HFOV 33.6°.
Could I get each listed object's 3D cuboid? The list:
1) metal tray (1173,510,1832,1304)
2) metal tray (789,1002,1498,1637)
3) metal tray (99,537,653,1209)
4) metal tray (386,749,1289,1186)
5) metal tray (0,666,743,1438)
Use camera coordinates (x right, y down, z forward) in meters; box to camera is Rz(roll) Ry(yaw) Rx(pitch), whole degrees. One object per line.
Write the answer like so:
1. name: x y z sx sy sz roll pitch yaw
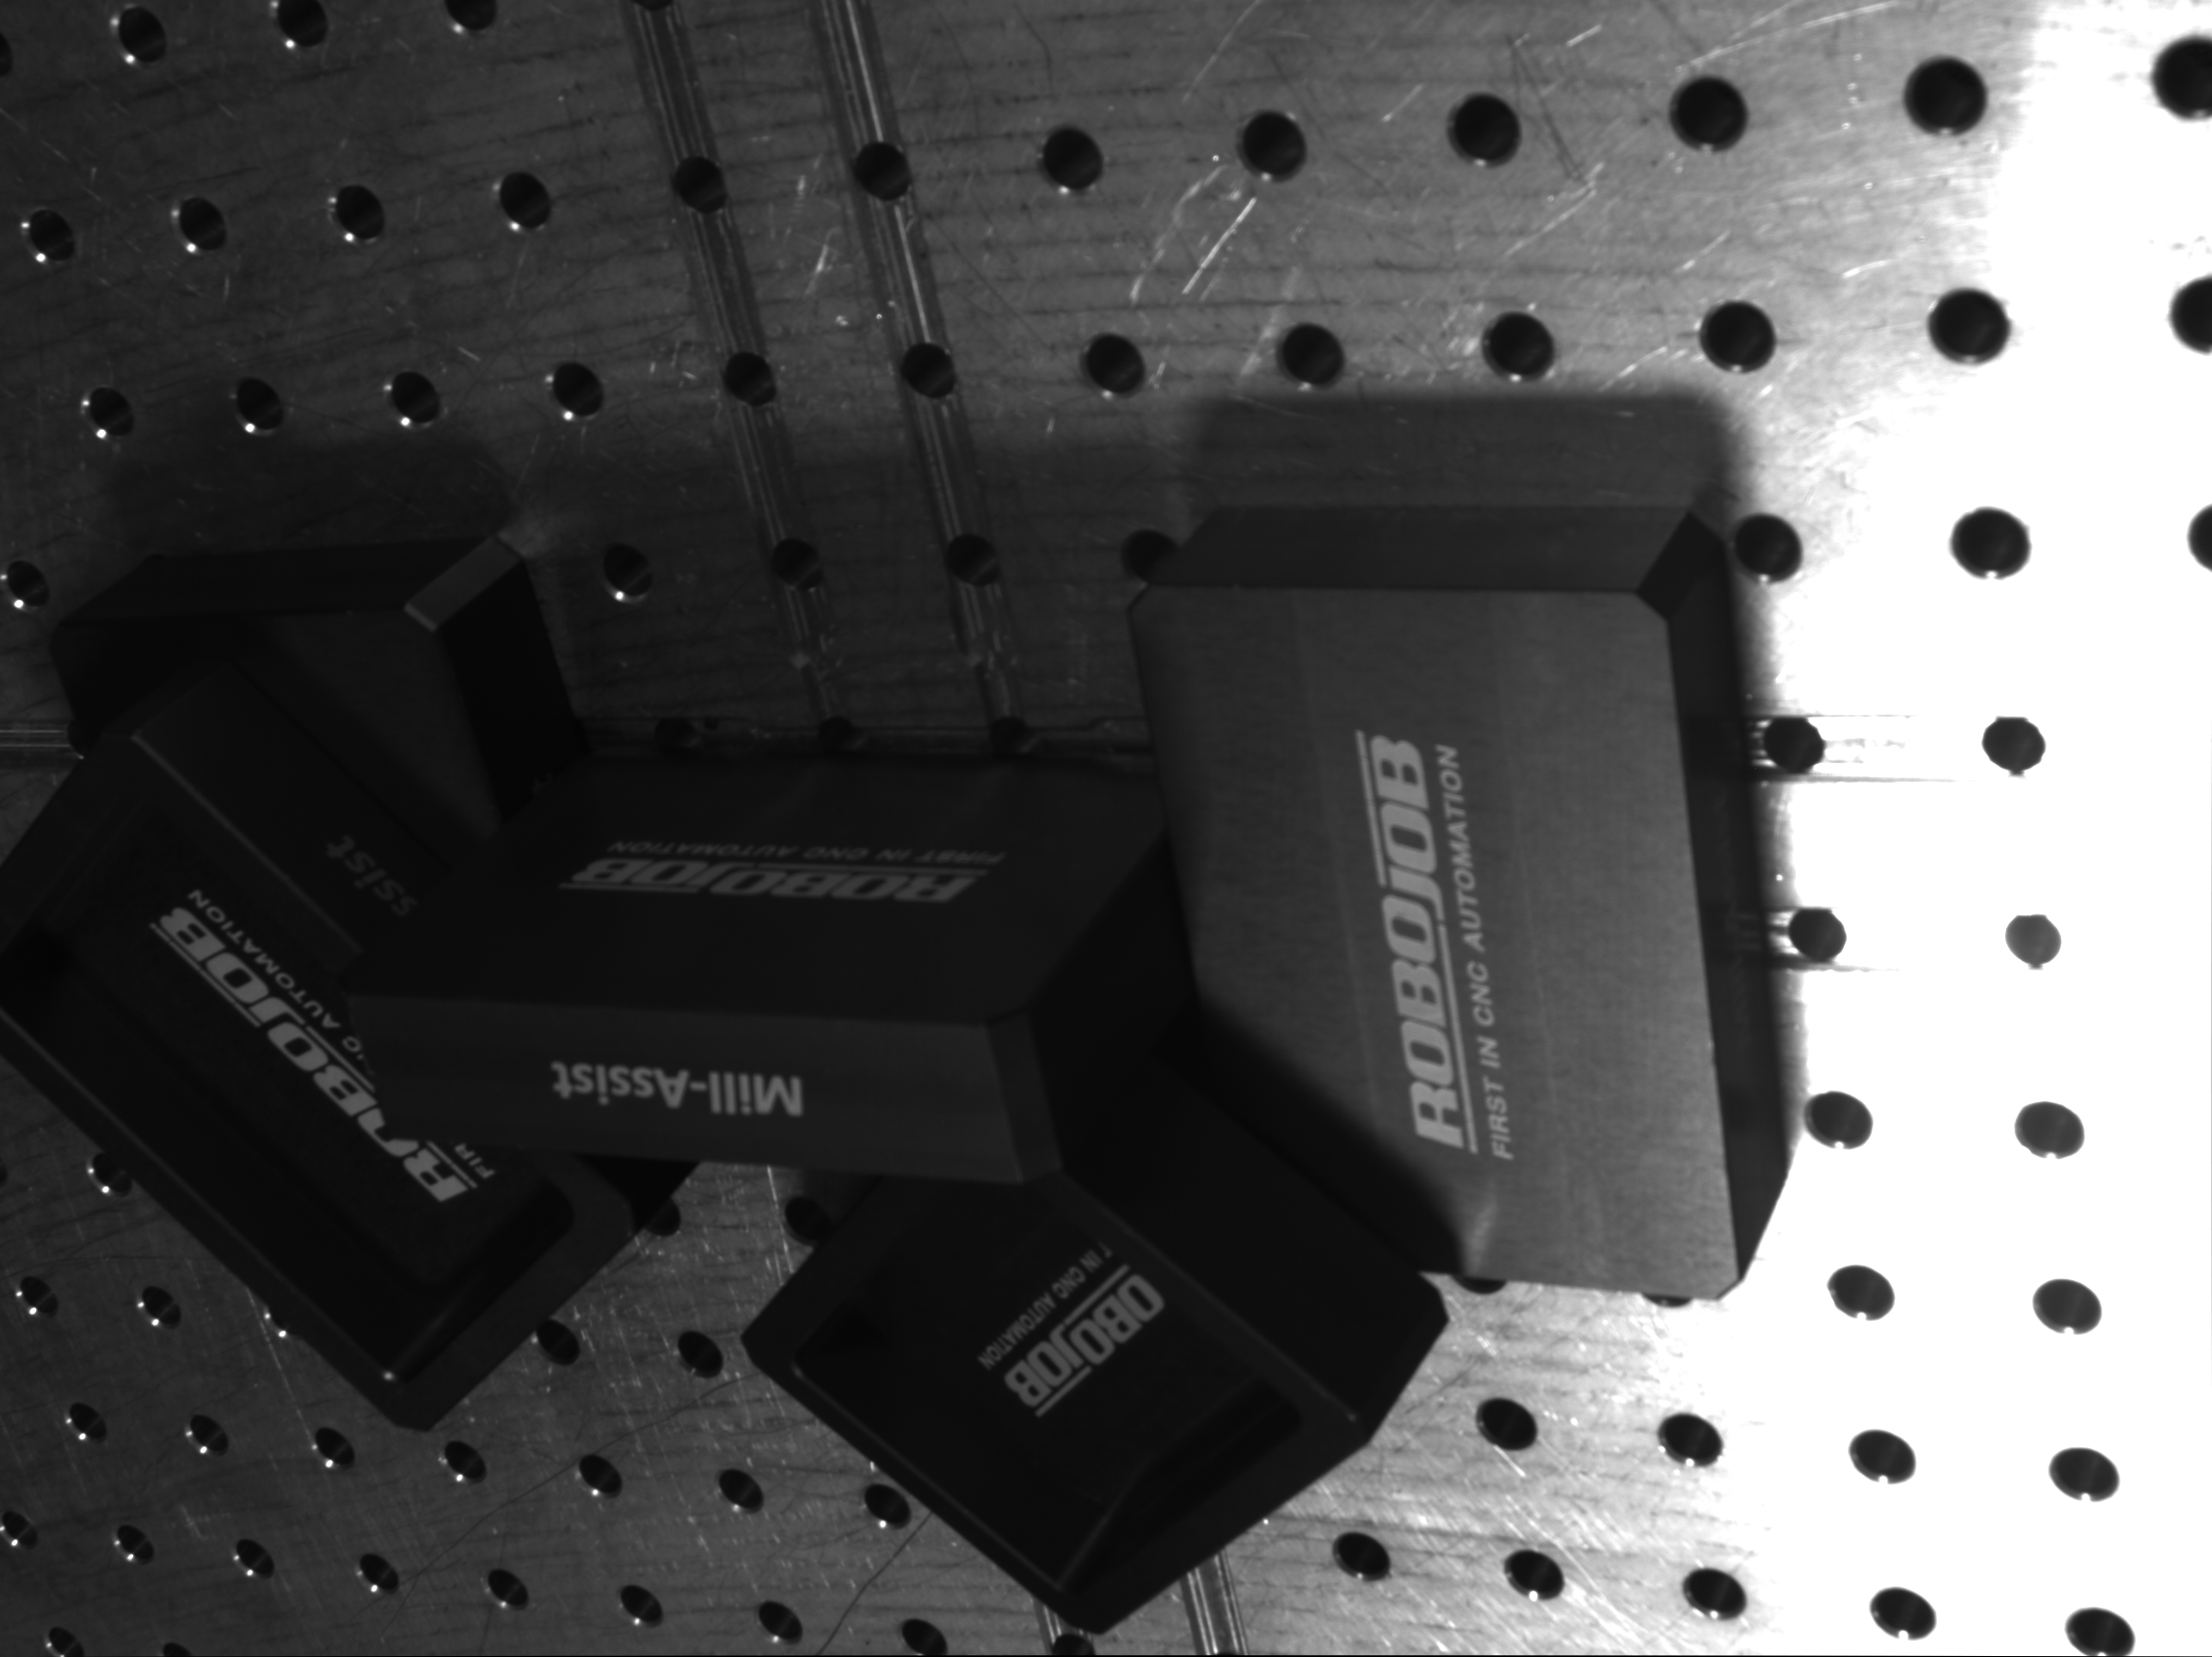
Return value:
1. metal tray: 0.067 0.013 0.604 0.090 0.030 0.130 3 119 25
2. metal tray: 0.003 0.091 0.661 0.090 0.030 0.130 39 145 0
3. metal tray: -0.129 0.011 0.703 0.090 0.030 0.130 -1 118 28
4. metal tray: -0.044 0.021 0.626 0.130 0.090 0.030 1 119 26
5. metal tray: -0.140 0.044 0.687 0.130 0.030 0.090 44 128 -4
